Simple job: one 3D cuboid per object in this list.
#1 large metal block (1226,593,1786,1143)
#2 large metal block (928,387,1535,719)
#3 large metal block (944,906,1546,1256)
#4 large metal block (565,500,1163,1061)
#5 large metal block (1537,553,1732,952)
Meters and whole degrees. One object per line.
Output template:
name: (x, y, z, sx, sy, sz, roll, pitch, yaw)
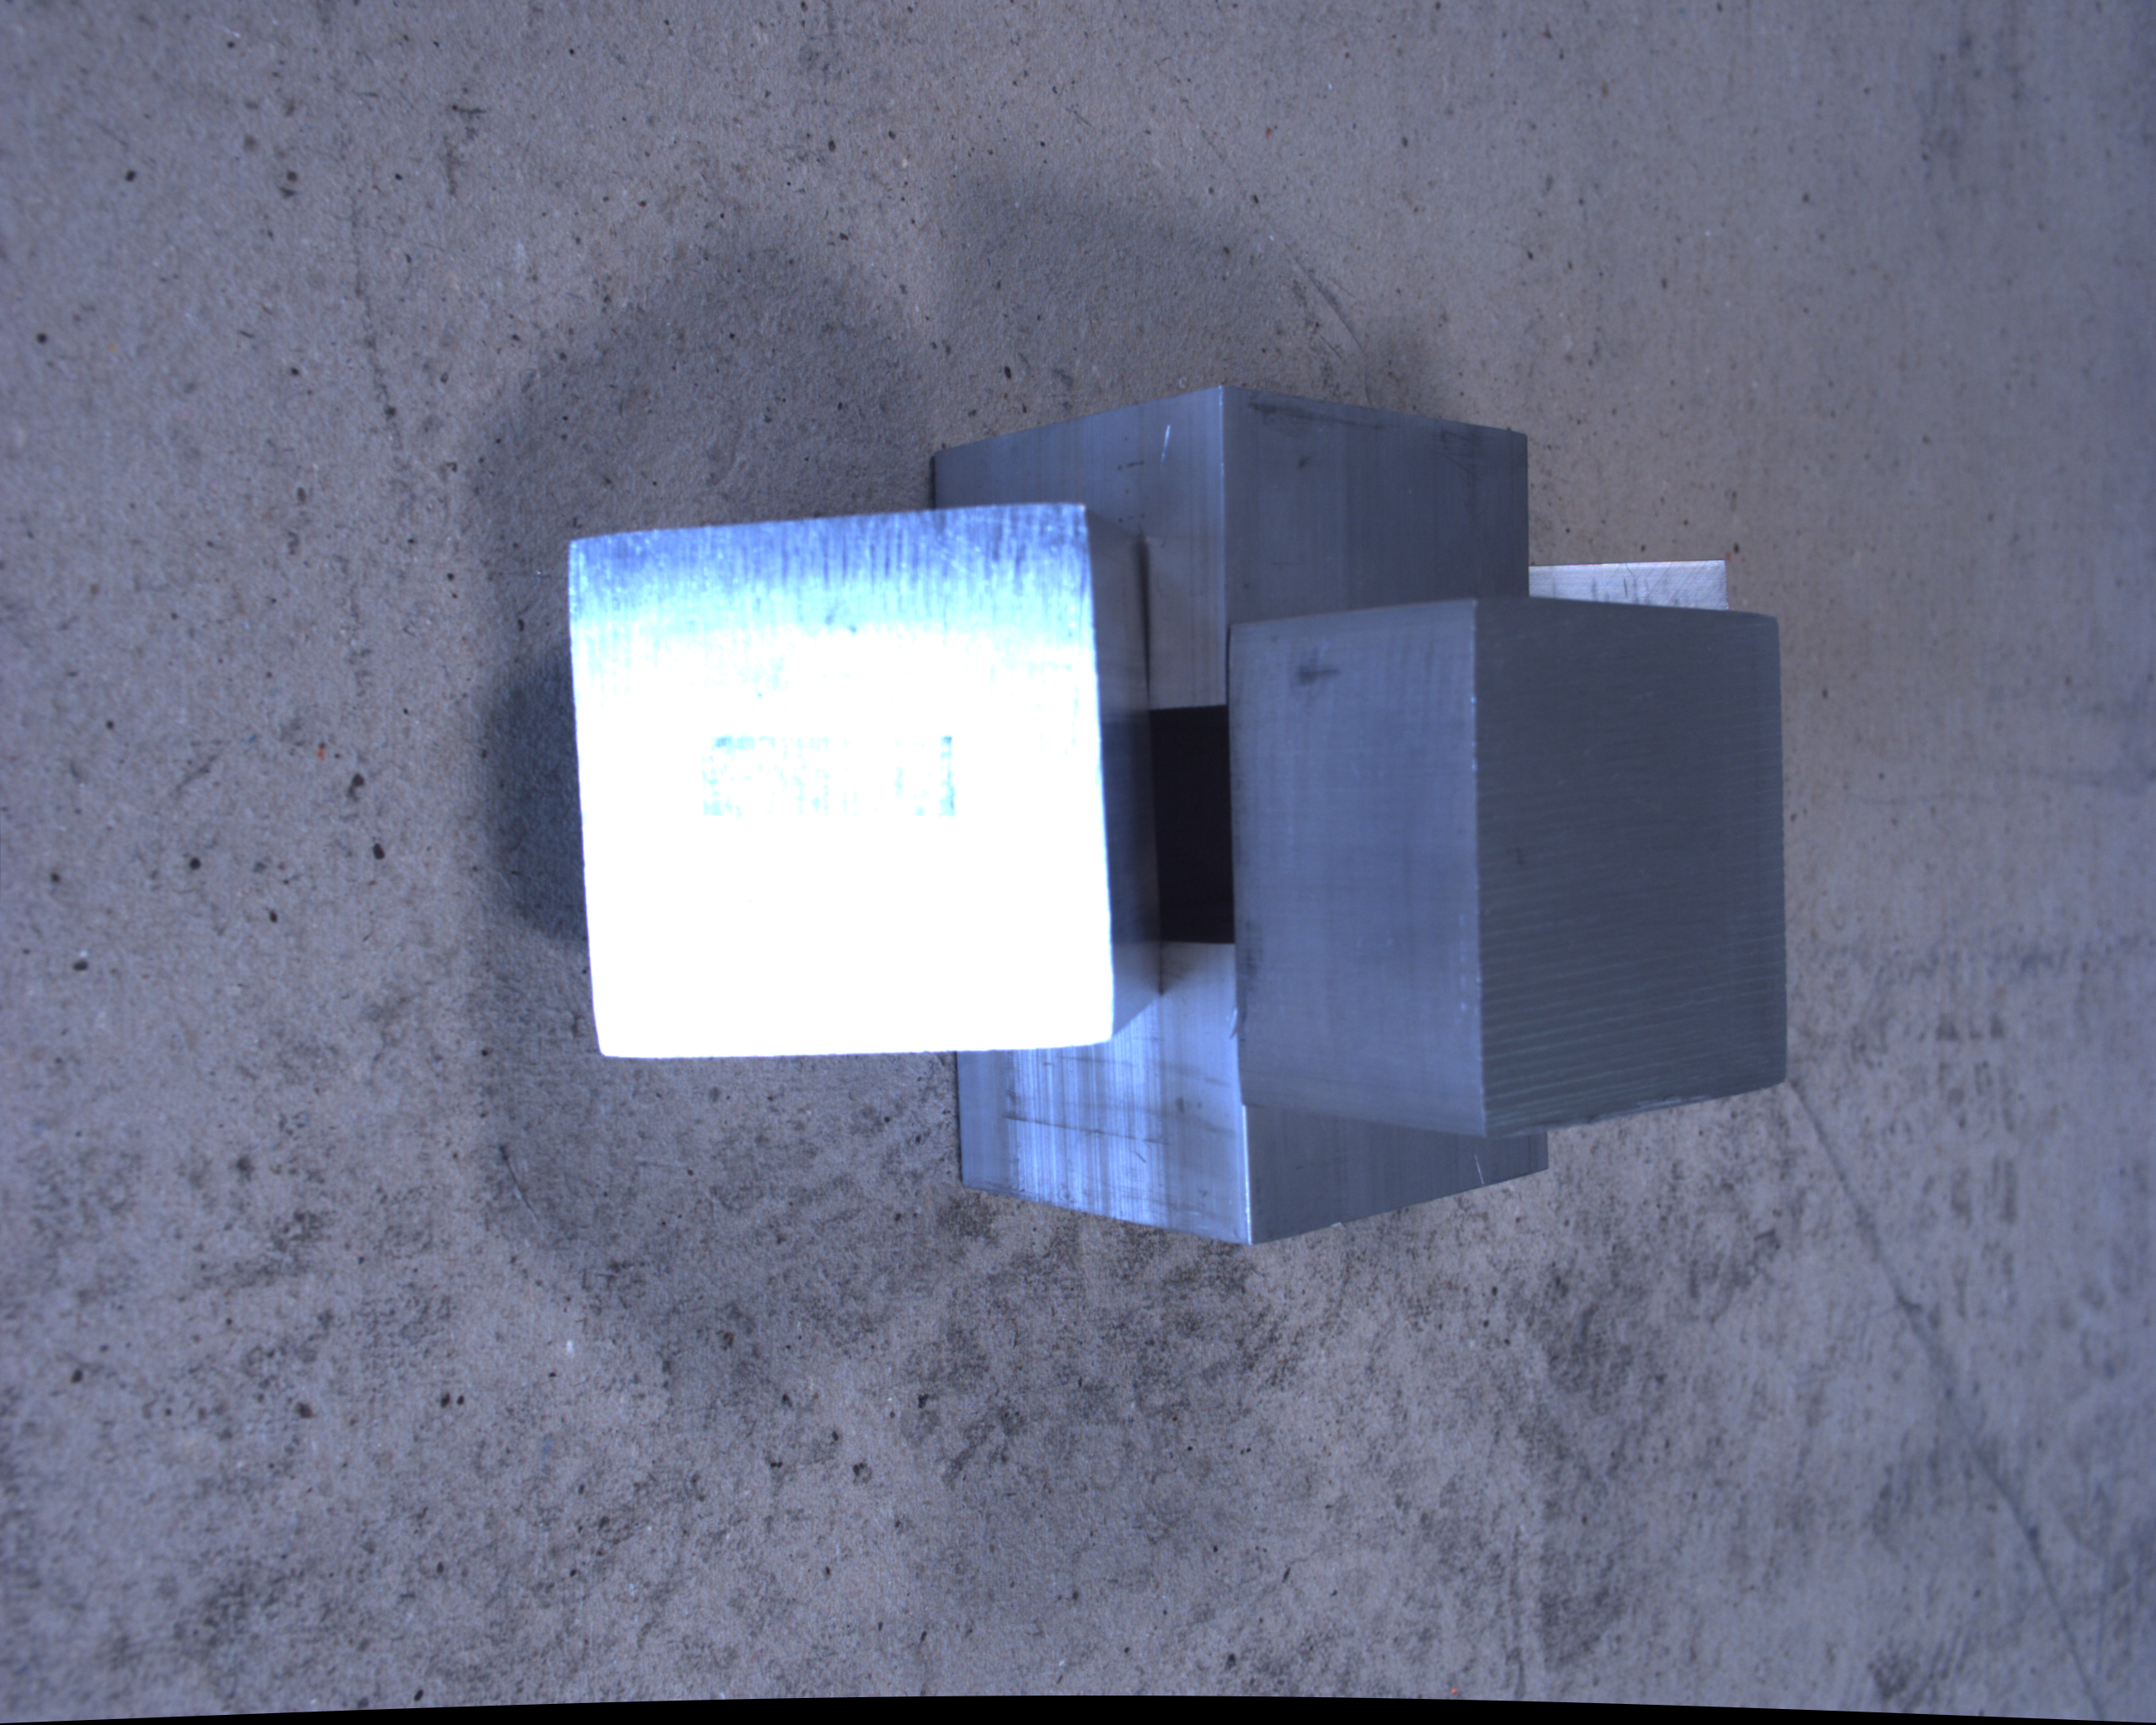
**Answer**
large metal block: (0.072, -0.001, 0.346, 0.081, 0.050, 0.079, -3, 92, -40)
large metal block: (0.029, -0.054, 0.395, 0.081, 0.080, 0.050, -3, 92, -41)
large metal block: (0.031, 0.037, 0.398, 0.081, 0.080, 0.050, -5, 94, -39)
large metal block: (-0.031, -0.012, 0.335, 0.050, 0.080, 0.079, -15, 102, -80)
large metal block: (0.100, -0.021, 0.443, 0.050, 0.080, 0.079, -3, 92, -5)
